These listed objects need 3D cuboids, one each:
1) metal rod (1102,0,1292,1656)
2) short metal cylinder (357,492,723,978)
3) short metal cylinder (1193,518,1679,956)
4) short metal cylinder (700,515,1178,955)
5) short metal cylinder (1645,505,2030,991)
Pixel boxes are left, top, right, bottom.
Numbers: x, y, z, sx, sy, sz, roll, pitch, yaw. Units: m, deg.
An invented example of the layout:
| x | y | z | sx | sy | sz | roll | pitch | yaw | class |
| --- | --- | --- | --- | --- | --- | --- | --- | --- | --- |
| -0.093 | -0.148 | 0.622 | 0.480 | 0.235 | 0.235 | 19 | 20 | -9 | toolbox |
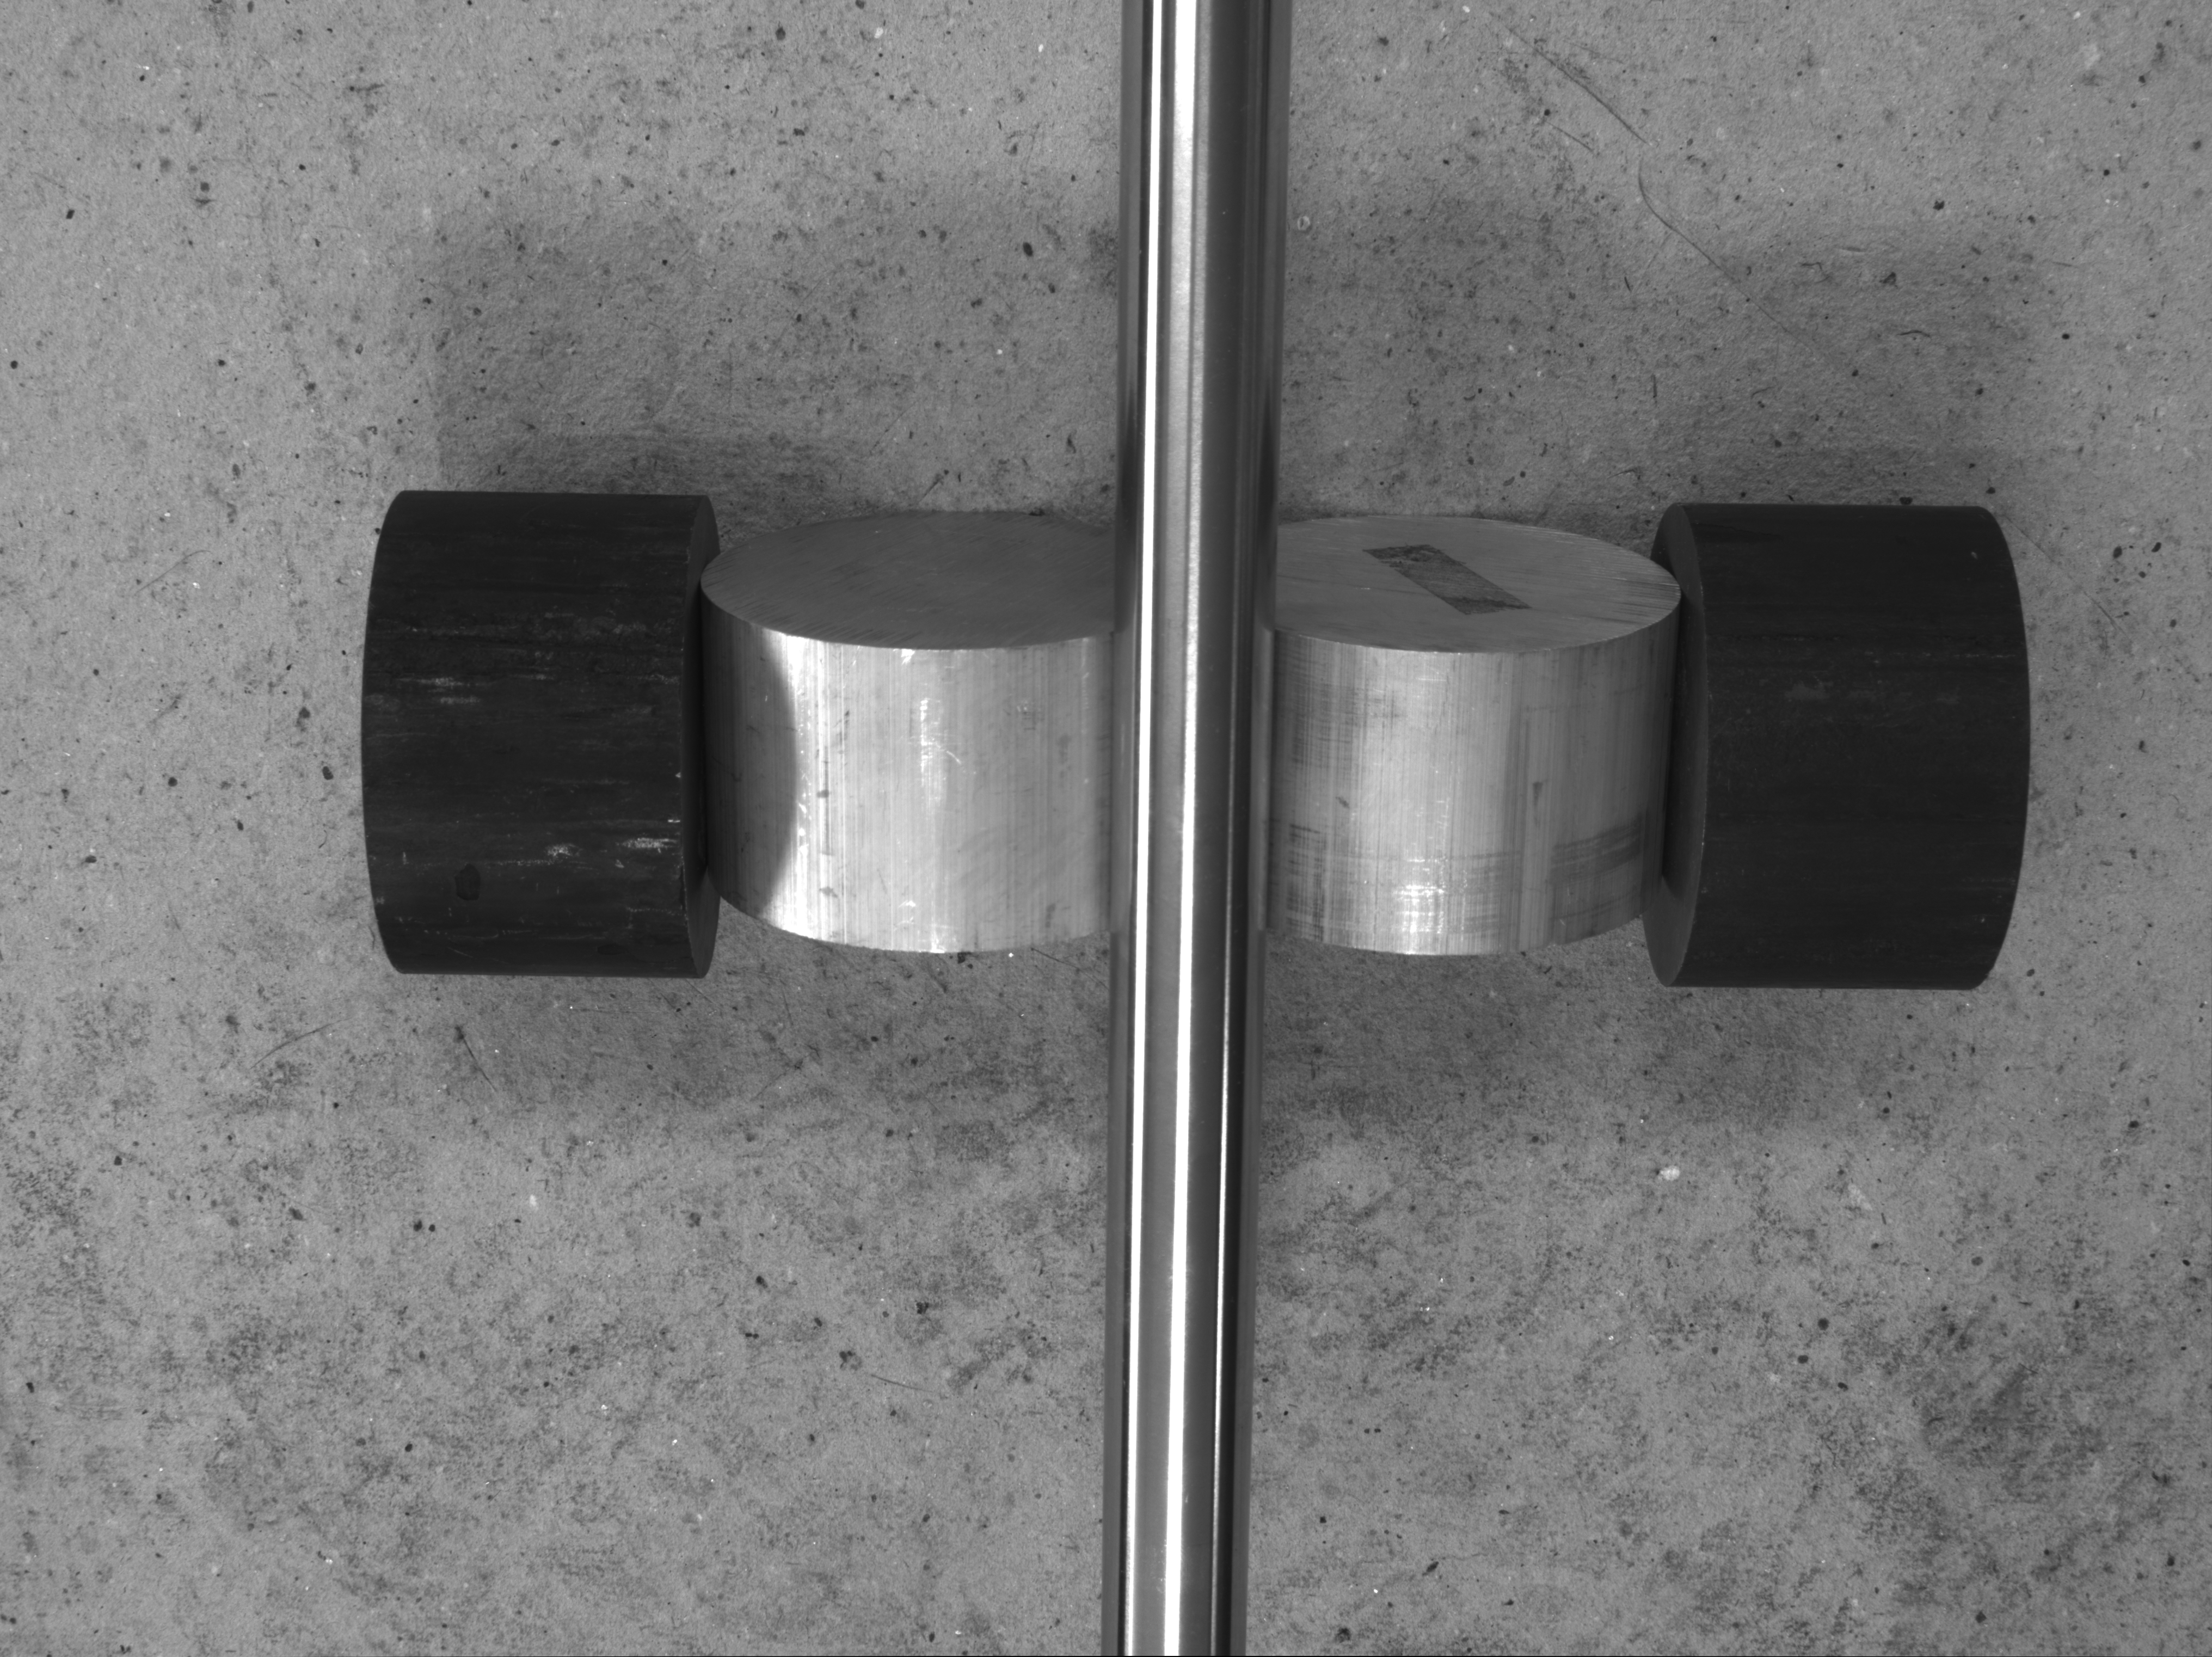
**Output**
| x | y | z | sx | sy | sz | roll | pitch | yaw | class |
| --- | --- | --- | --- | --- | --- | --- | --- | --- | --- |
| 0.013 | 0.006 | 0.581 | 0.025 | 0.025 | 0.300 | 1 | 110 | 0 | metal rod |
| -0.091 | -0.016 | 0.609 | 0.050 | 0.080 | 0.080 | 1 | 110 | 0 | short metal cylinder |
| 0.053 | -0.017 | 0.609 | 0.080 | 0.080 | 0.050 | 1 | 110 | 0 | short metal cylinder |
| -0.027 | -0.017 | 0.609 | 0.080 | 0.080 | 0.050 | 1 | 110 | 0 | short metal cylinder |
| 0.119 | -0.013 | 0.611 | 0.050 | 0.080 | 0.080 | 1 | 110 | 0 | short metal cylinder |
